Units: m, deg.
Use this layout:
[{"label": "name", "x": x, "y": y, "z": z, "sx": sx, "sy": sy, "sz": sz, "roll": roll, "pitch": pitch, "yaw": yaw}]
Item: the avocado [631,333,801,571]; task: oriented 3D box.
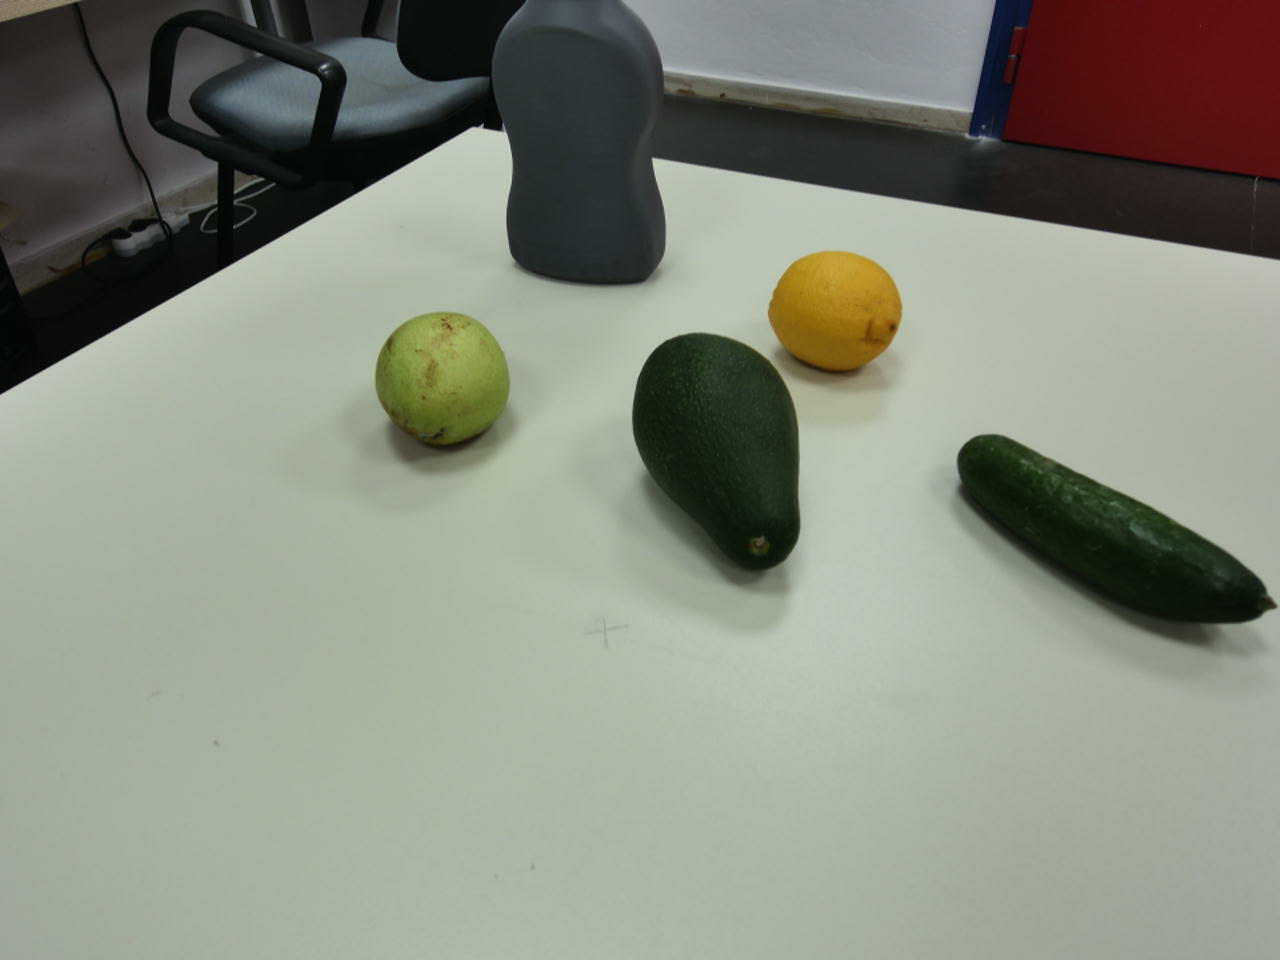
[{"label": "avocado", "x": 0.031, "y": -0.017, "z": 0.421, "sx": 0.072, "sy": 0.071, "sz": 0.109, "roll": 1, "pitch": 37, "yaw": 4}]
